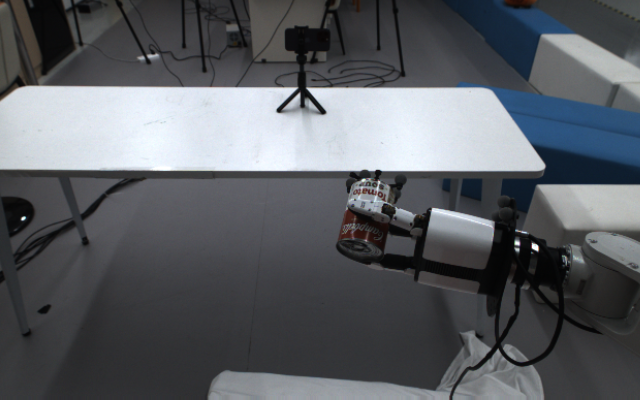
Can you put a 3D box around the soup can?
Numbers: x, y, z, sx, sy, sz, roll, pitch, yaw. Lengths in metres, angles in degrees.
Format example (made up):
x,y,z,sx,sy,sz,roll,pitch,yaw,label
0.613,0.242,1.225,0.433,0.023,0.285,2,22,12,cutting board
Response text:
x,y,z,sx,sy,sz,roll,pitch,yaw,label
0.068,0.027,0.689,0.067,0.067,0.101,9,61,10,soup can
